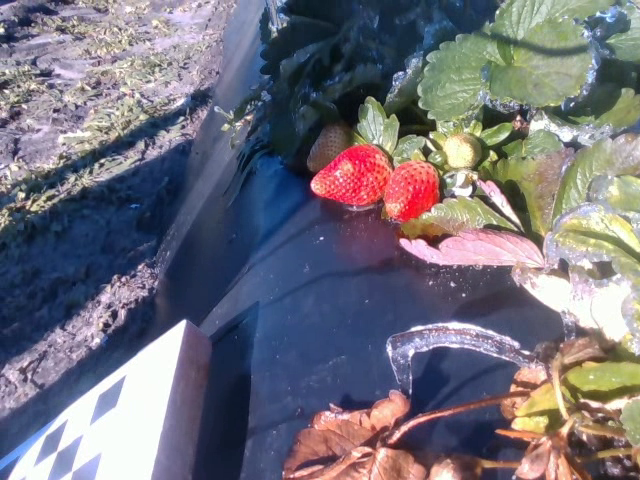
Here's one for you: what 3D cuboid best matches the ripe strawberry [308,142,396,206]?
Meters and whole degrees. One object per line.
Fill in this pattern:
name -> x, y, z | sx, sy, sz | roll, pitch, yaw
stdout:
ripe strawberry -> 0.015, -0.033, 0.347 | 0.051, 0.040, 0.036 | -17, 14, -28

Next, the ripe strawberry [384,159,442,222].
ripe strawberry -> 0.048, -0.025, 0.326 | 0.036, 0.041, 0.030 | -19, -57, 43
